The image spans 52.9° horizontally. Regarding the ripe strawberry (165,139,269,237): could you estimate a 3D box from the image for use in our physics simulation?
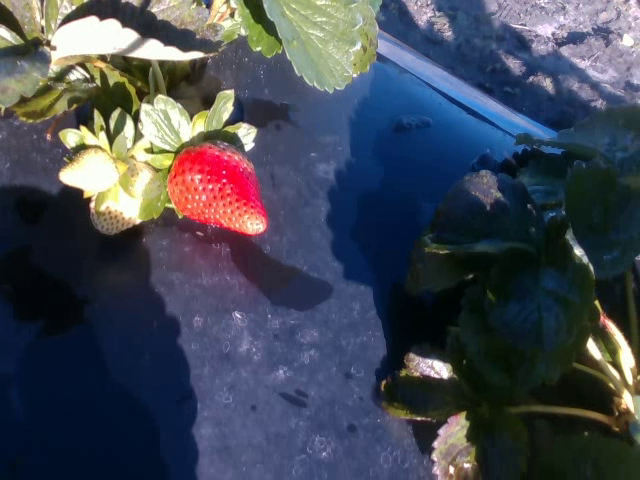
[{"bbox_3d":[-0.043,-0.020,0.293,0.064,0.050,0.052,40,2,28],"label":"ripe strawberry"}]
